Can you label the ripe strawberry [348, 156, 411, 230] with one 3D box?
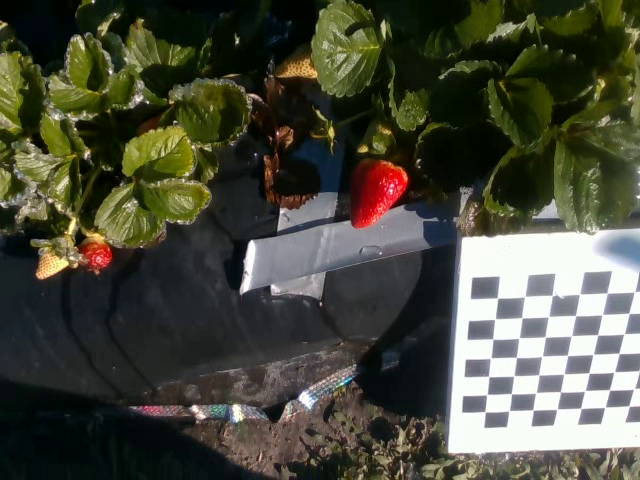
[{"bbox_3d":[0.051,-0.035,0.550,0.061,0.065,0.057,24,-16,-17],"label":"ripe strawberry"}]
